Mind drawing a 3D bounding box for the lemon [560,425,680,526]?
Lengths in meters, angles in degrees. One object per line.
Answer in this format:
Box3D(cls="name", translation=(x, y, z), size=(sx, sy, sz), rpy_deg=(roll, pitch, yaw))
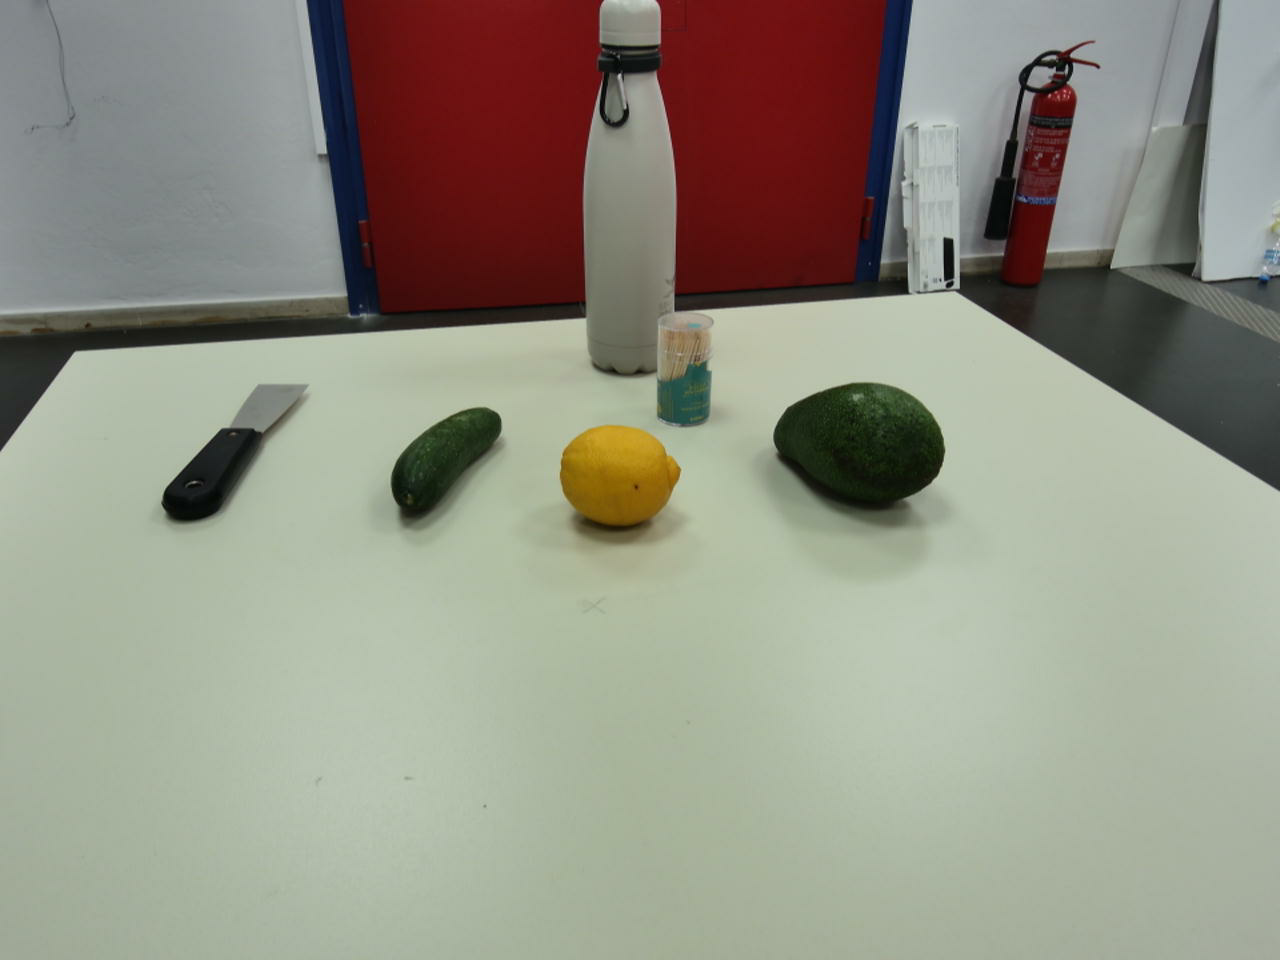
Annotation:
Box3D(cls="lemon", translation=(-0.014, -0.002, 0.594), size=(0.067, 0.059, 0.060), rpy_deg=(15, 30, 26))
